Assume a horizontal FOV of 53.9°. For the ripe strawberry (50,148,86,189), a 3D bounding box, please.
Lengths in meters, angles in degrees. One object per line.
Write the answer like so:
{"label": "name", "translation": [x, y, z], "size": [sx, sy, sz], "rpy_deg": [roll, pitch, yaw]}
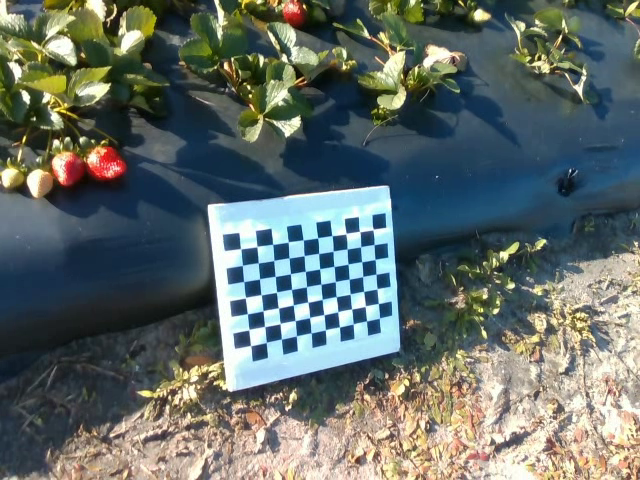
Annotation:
{"label": "ripe strawberry", "translation": [-0.337, -0.094, 0.826], "size": [0.050, 0.061, 0.044], "rpy_deg": [18, -49, -26]}

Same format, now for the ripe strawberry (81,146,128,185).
{"label": "ripe strawberry", "translation": [-0.287, -0.103, 0.842], "size": [0.067, 0.057, 0.052], "rpy_deg": [24, -11, 31]}
